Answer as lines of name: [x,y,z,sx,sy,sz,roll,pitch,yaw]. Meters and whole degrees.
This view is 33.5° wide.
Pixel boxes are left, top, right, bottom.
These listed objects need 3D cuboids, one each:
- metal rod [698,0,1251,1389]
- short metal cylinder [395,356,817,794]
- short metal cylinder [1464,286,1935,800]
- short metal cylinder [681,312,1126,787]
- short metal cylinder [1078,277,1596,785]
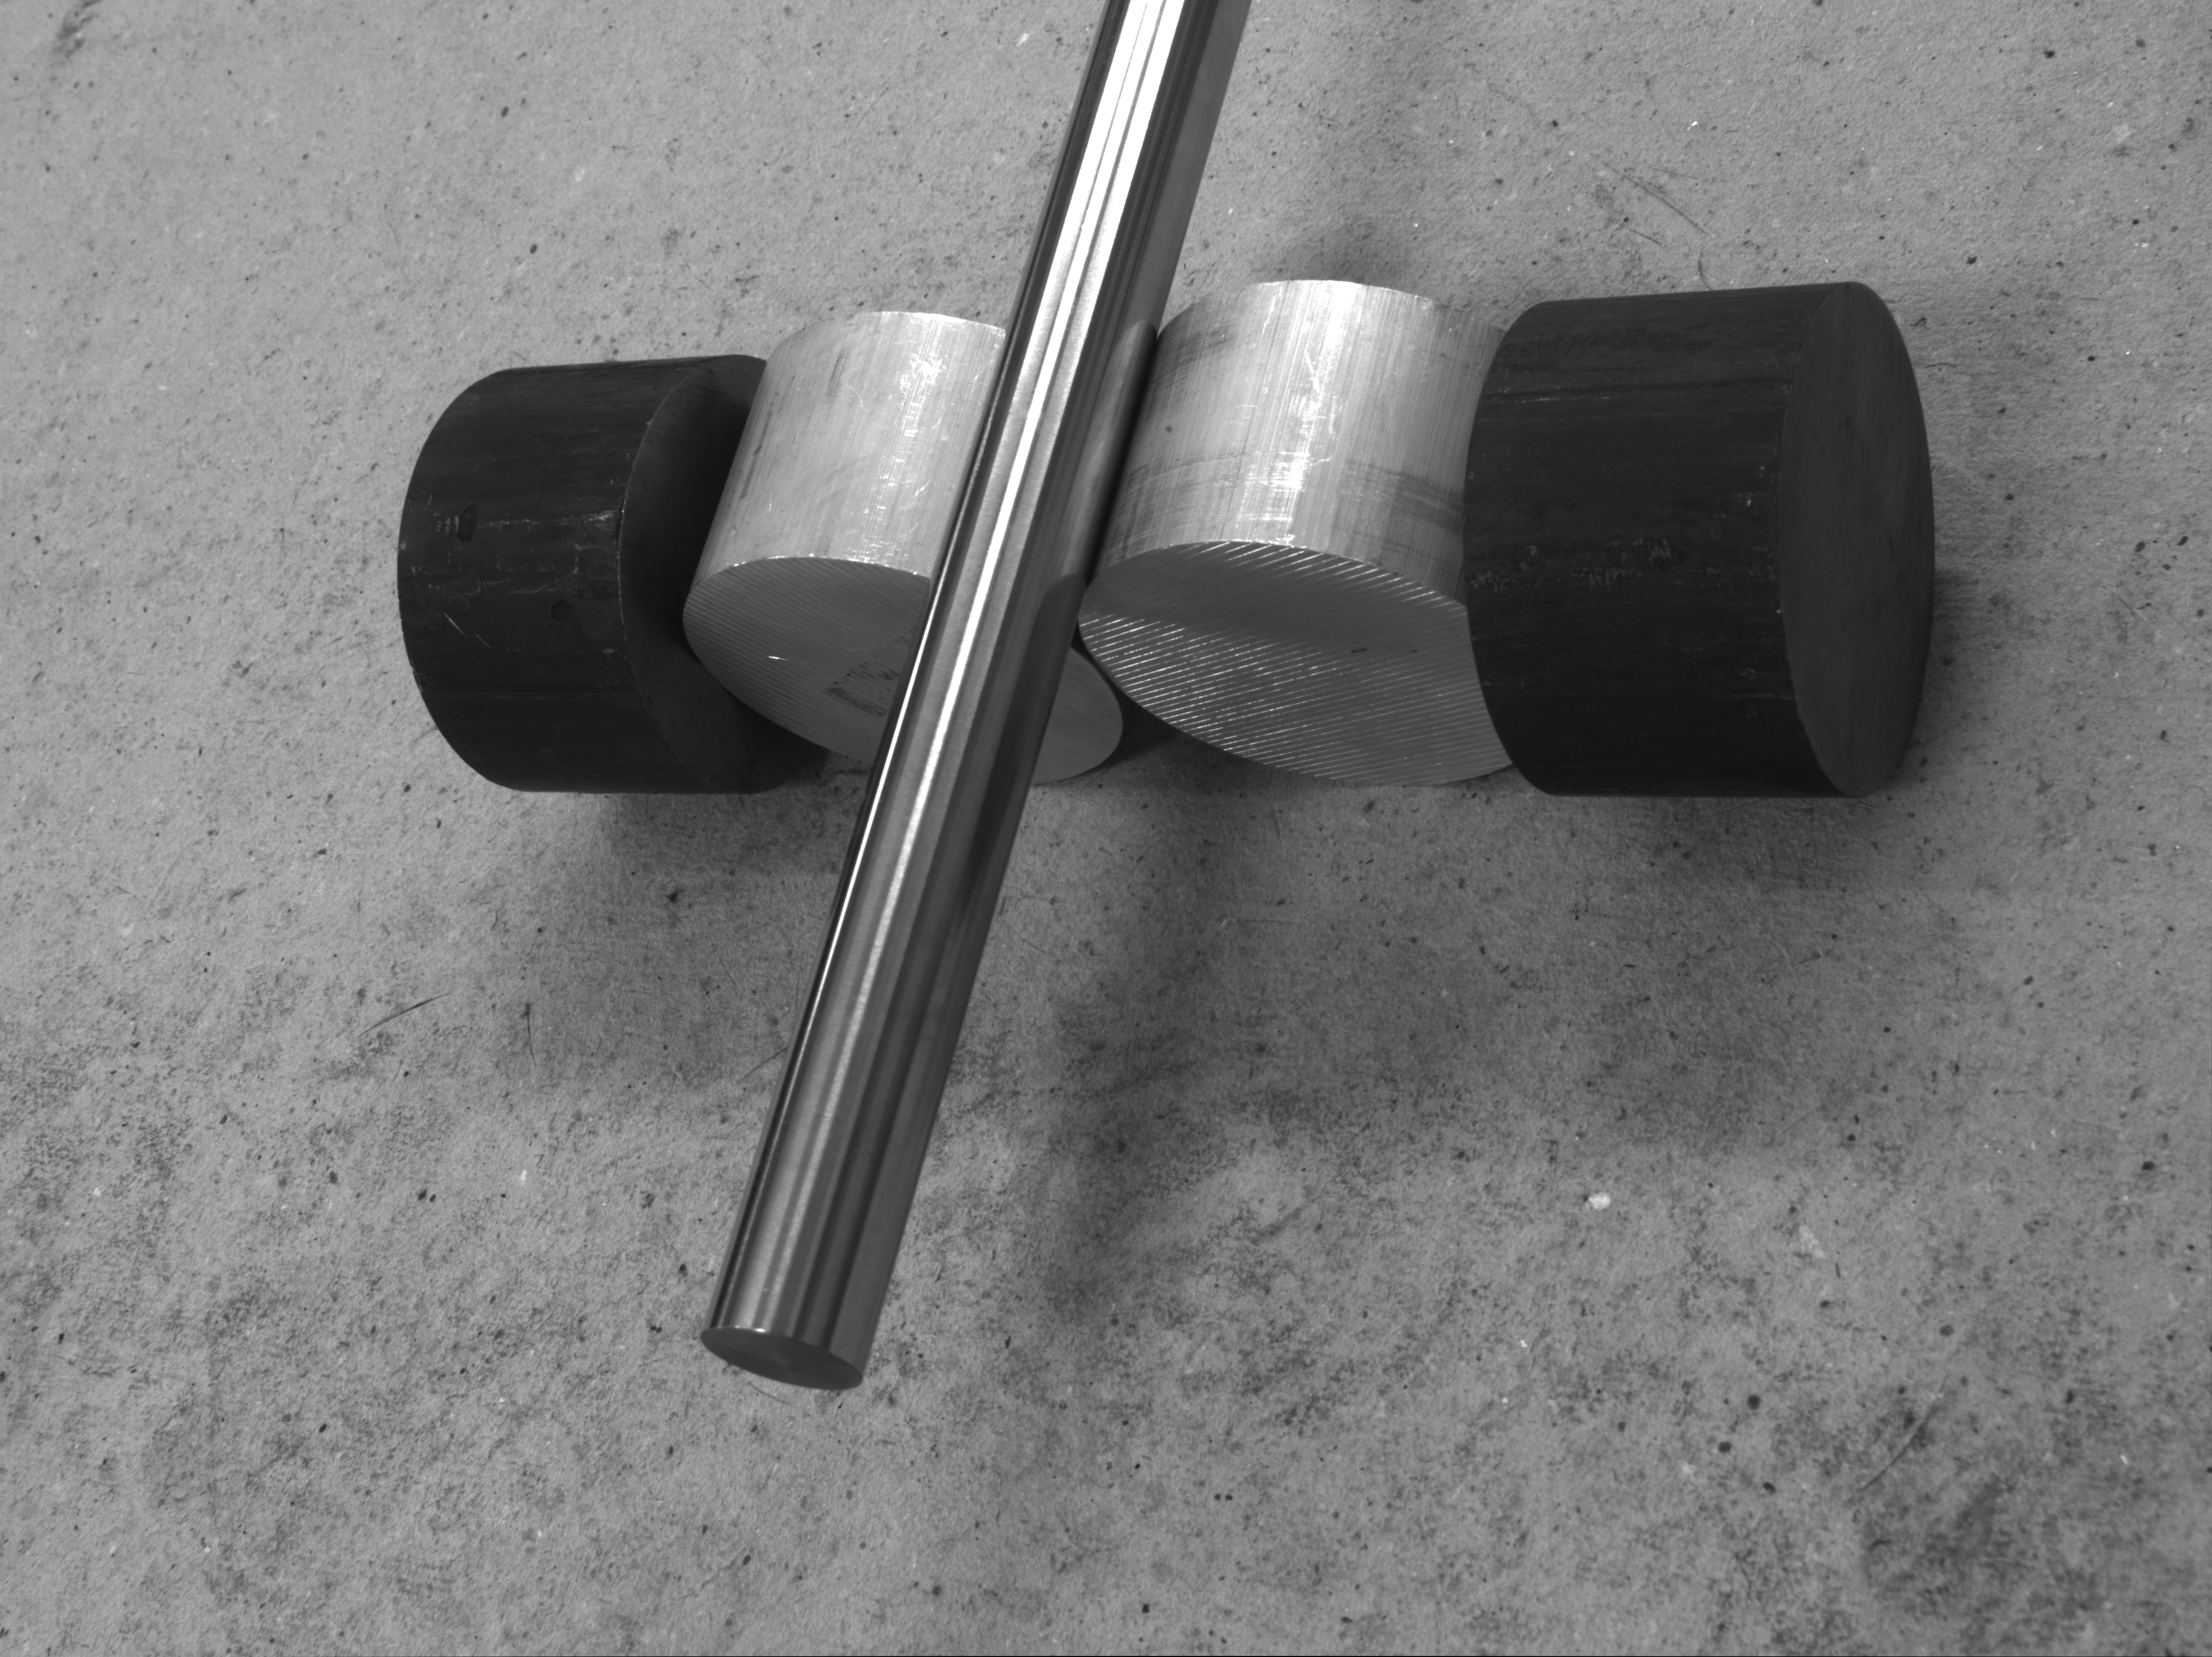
metal rod: [-0.013,-0.053,0.606,0.025,0.025,0.300,1,62,29]
short metal cylinder: [-0.087,-0.047,0.687,0.050,0.080,0.080,1,62,29]
short metal cylinder: [0.096,-0.045,0.586,0.050,0.080,0.080,1,62,29]
short metal cylinder: [-0.030,-0.048,0.657,0.080,0.080,0.050,1,62,29]
short metal cylinder: [0.039,-0.049,0.619,0.080,0.080,0.050,1,62,29]
